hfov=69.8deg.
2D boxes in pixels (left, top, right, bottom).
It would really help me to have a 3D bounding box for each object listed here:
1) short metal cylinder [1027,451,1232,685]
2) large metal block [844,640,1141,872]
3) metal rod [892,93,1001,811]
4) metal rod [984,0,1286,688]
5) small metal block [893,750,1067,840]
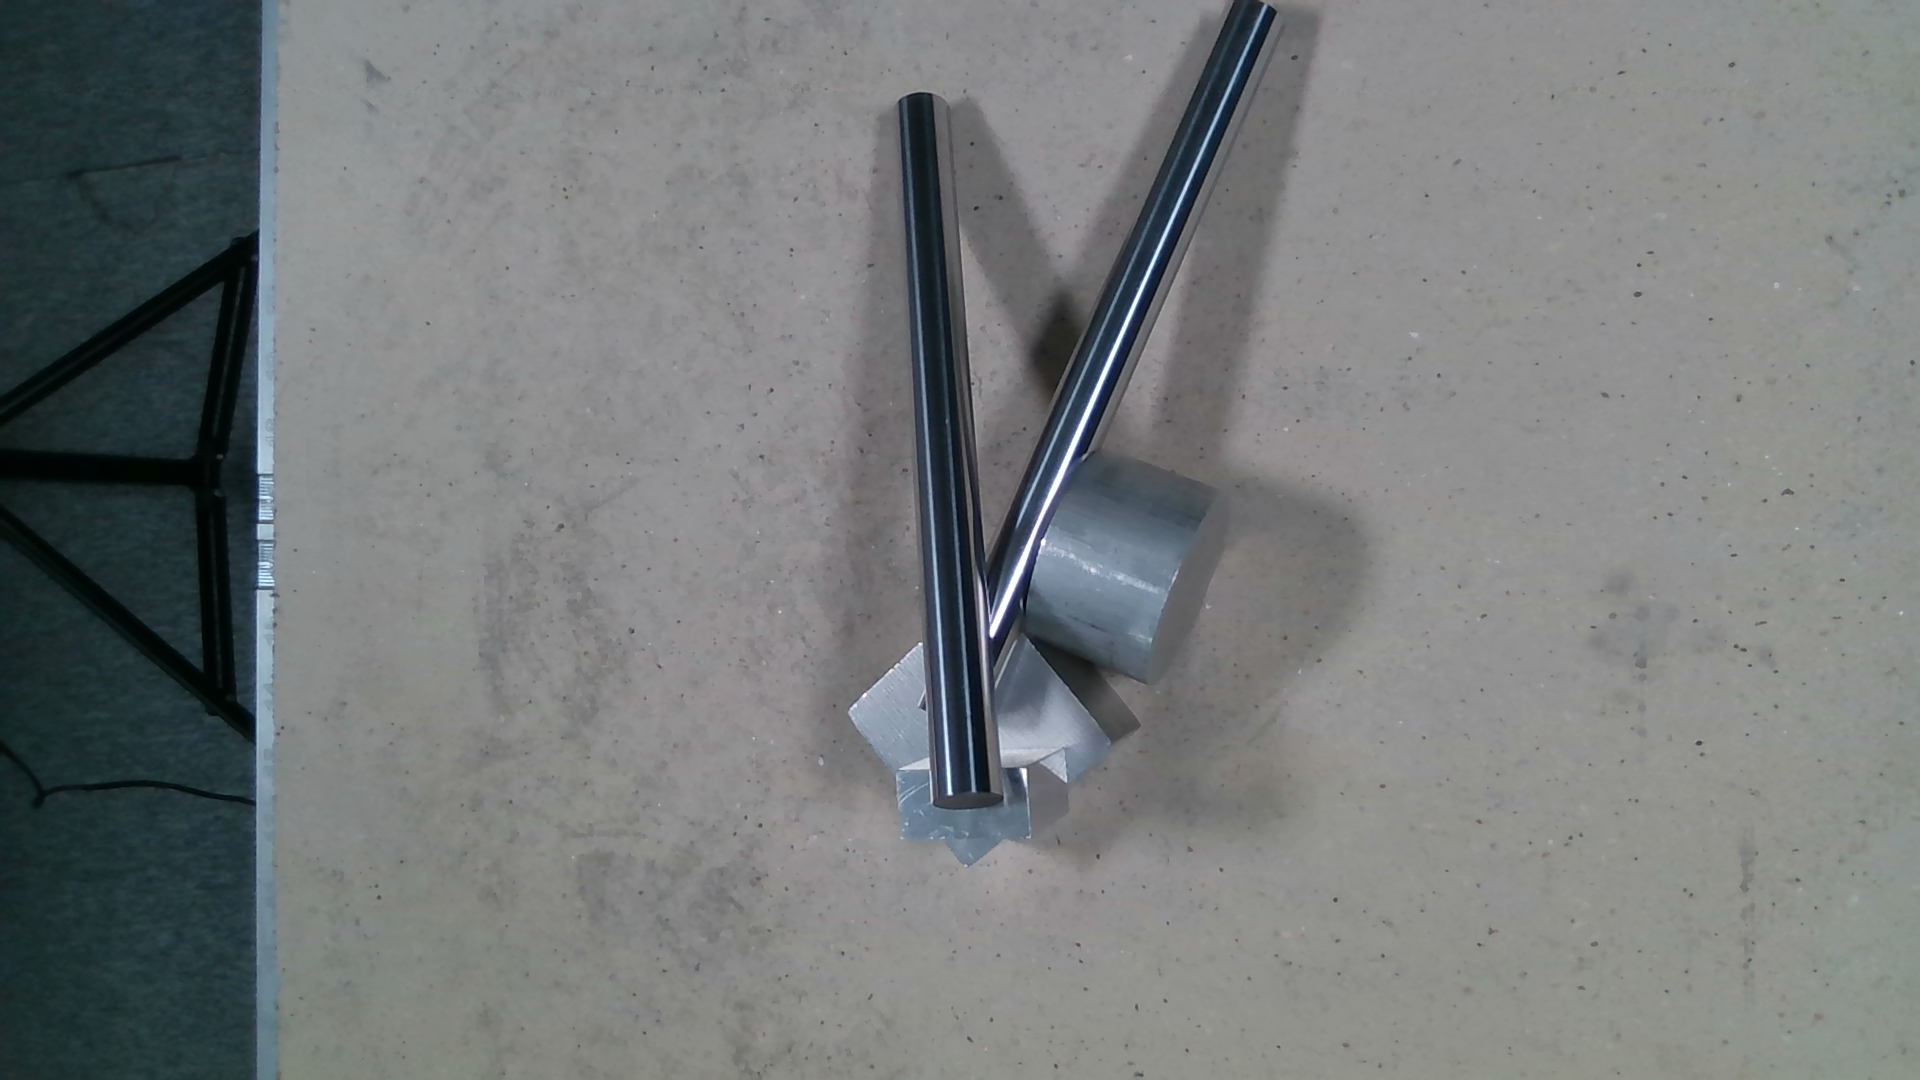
[{"bbox_3d":[0.066,0.010,0.533,0.050,0.080,0.080,22,98,19],"label":"short metal cylinder"},{"bbox_3d":[0.014,0.075,0.566,0.080,0.050,0.080,-43,76,15],"label":"large metal block"},{"bbox_3d":[-0.008,-0.046,0.531,0.025,0.025,0.299,-13,65,20],"label":"metal rod"},{"bbox_3d":[0.057,-0.070,0.533,0.025,0.025,0.300,22,87,19],"label":"metal rod"},{"bbox_3d":[0.009,0.095,0.514,0.050,0.050,0.025,-5,88,20],"label":"small metal block"}]
